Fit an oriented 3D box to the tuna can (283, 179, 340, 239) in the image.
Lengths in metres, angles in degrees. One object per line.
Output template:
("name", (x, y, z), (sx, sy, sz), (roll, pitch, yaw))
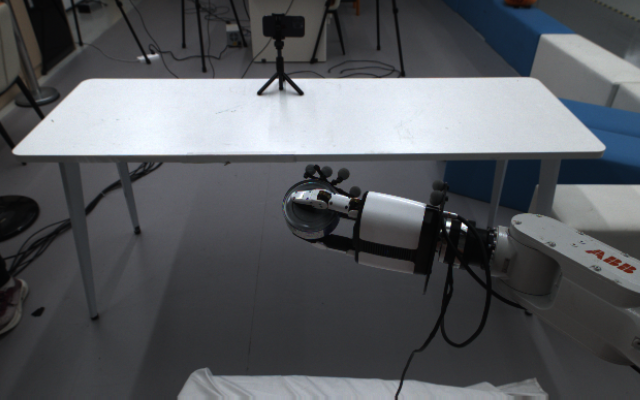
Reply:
("tuna can", (-0.011, 0.014, 0.716), (0.085, 0.034, 0.085), (-2, 60, 3))
